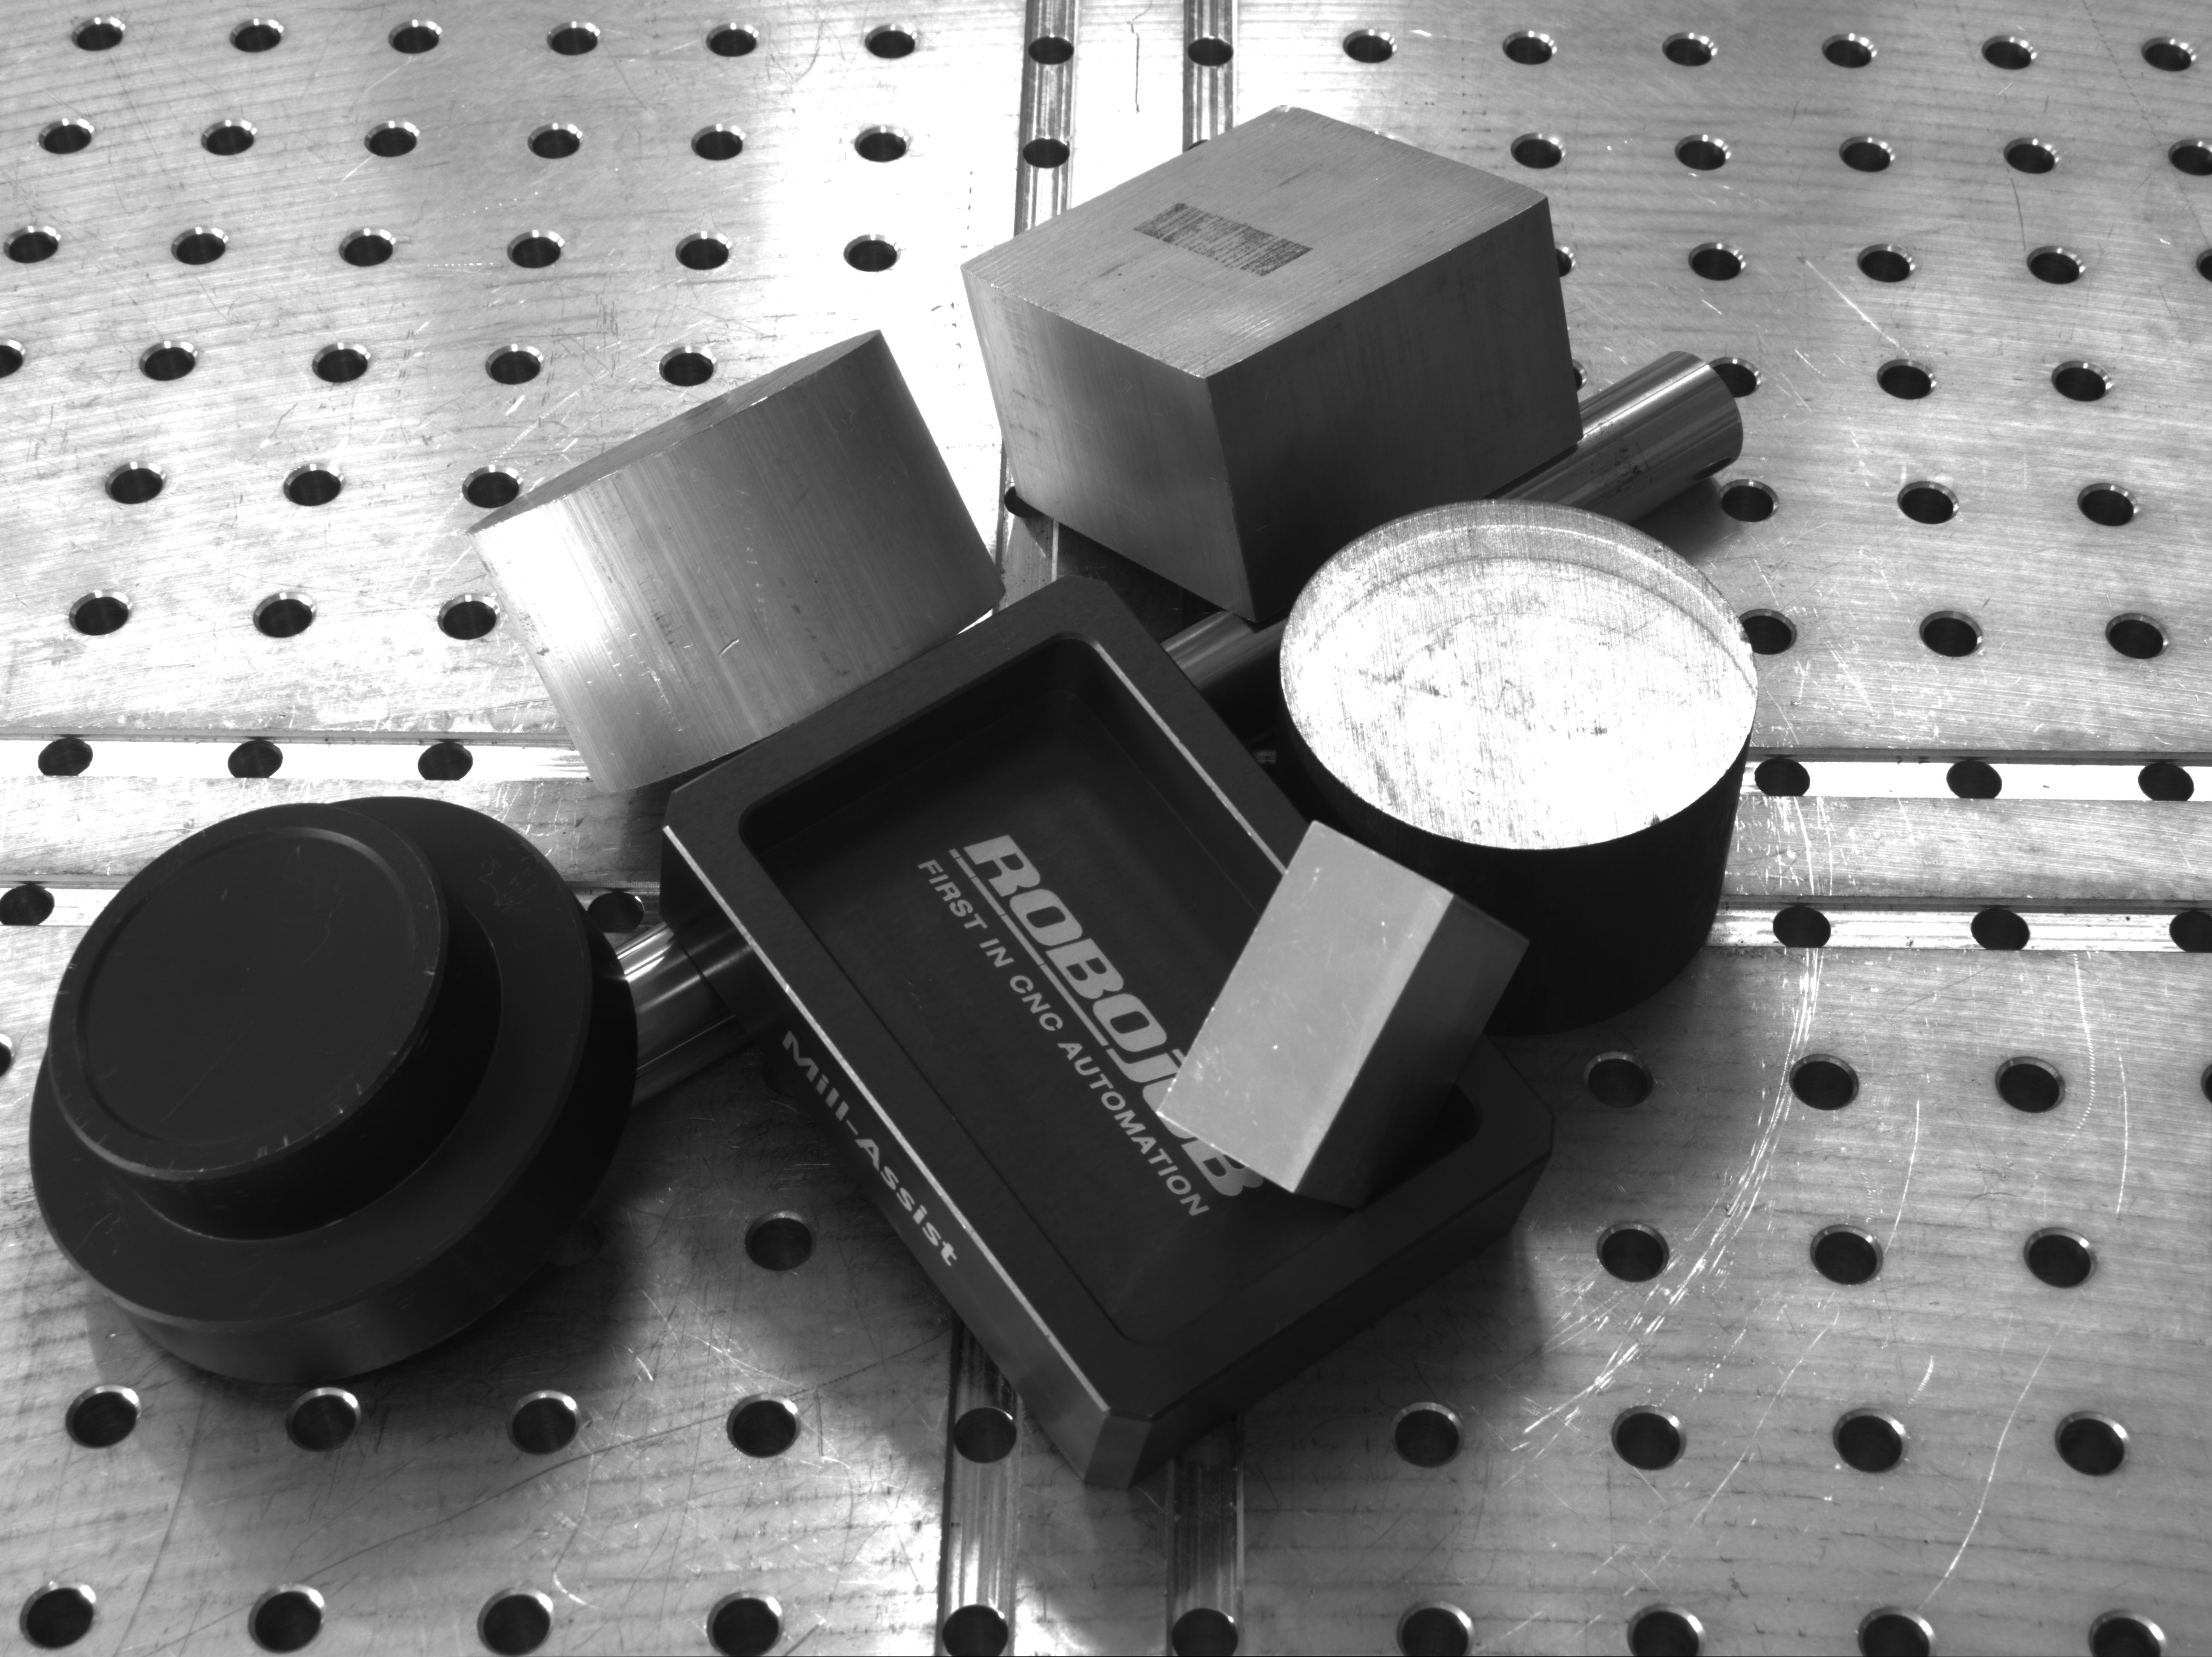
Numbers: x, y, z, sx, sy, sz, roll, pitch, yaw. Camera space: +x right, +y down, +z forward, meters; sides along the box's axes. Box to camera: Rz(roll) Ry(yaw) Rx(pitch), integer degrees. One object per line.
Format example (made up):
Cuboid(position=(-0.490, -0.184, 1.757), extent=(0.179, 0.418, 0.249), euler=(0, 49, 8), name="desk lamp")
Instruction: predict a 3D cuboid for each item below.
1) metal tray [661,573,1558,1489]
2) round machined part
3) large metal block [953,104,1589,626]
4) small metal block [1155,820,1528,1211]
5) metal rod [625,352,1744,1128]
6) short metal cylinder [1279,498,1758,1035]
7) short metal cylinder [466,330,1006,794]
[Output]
Cuboid(position=(-0.001, 0.030, 0.599), extent=(0.090, 0.030, 0.130), euler=(-30, 69, -23), name="metal tray")
Cuboid(position=(-0.129, 0.035, 0.588), extent=(0.098, 0.042, 0.098), euler=(-9, 55, 13), name="round machined part")
Cuboid(position=(0.031, -0.089, 0.689), extent=(0.080, 0.050, 0.080), euler=(-30, 36, -23), name="large metal block")
Cuboid(position=(0.037, 0.030, 0.566), extent=(0.025, 0.050, 0.050), euler=(29, 91, 20), name="small metal block")
Cuboid(position=(-0.004, -0.010, 0.656), extent=(0.301, 0.025, 0.025), euler=(-31, 56, -23), name="metal rod")
Cuboid(position=(0.070, -0.011, 0.638), extent=(0.080, 0.050, 0.080), euler=(0, 50, 0), name="short metal cylinder")
Cuboid(position=(-0.064, -0.047, 0.642), extent=(0.080, 0.050, 0.080), euler=(-25, 12, 6), name="short metal cylinder")
